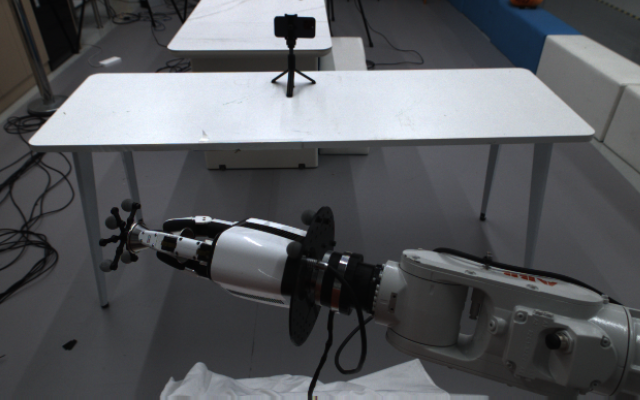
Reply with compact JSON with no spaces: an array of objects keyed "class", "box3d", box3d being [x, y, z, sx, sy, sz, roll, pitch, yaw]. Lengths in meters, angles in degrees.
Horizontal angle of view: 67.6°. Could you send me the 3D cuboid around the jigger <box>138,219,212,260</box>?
[{"class":"jigger","box3d":[-0.190,0.049,0.596,0.071,0.043,0.043,7,35,13]}]
